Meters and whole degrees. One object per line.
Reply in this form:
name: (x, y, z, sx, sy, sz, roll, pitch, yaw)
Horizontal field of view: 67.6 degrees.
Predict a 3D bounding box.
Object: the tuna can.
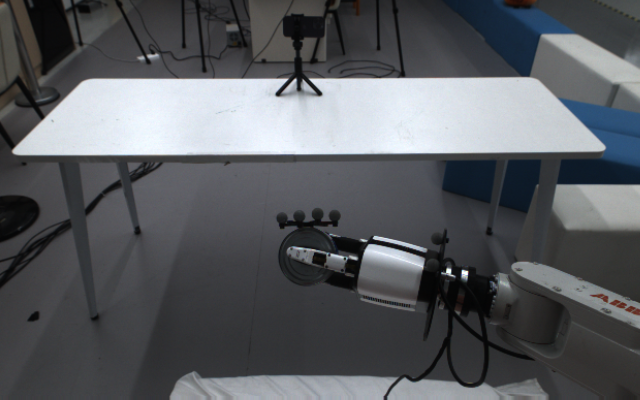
tuna can: (-0.014, 0.087, 0.707, 0.085, 0.085, 0.034, 10, -6, 11)
